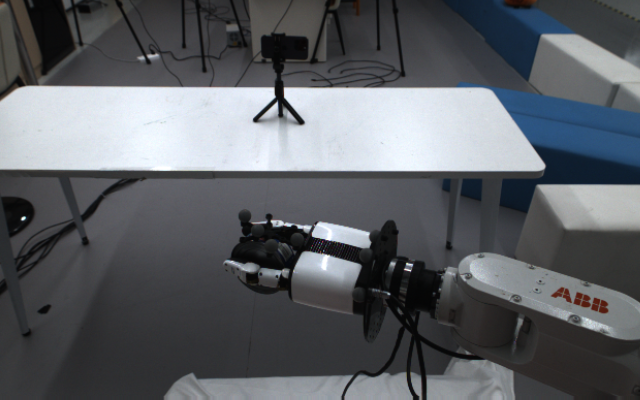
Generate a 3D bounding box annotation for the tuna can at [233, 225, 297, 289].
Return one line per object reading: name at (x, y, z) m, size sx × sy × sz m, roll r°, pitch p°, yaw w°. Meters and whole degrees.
tuna can at (-0.074, 0.085, 0.666) m, size 0.085 × 0.085 × 0.034 m, roll 16°, pitch 29°, yaw 19°
